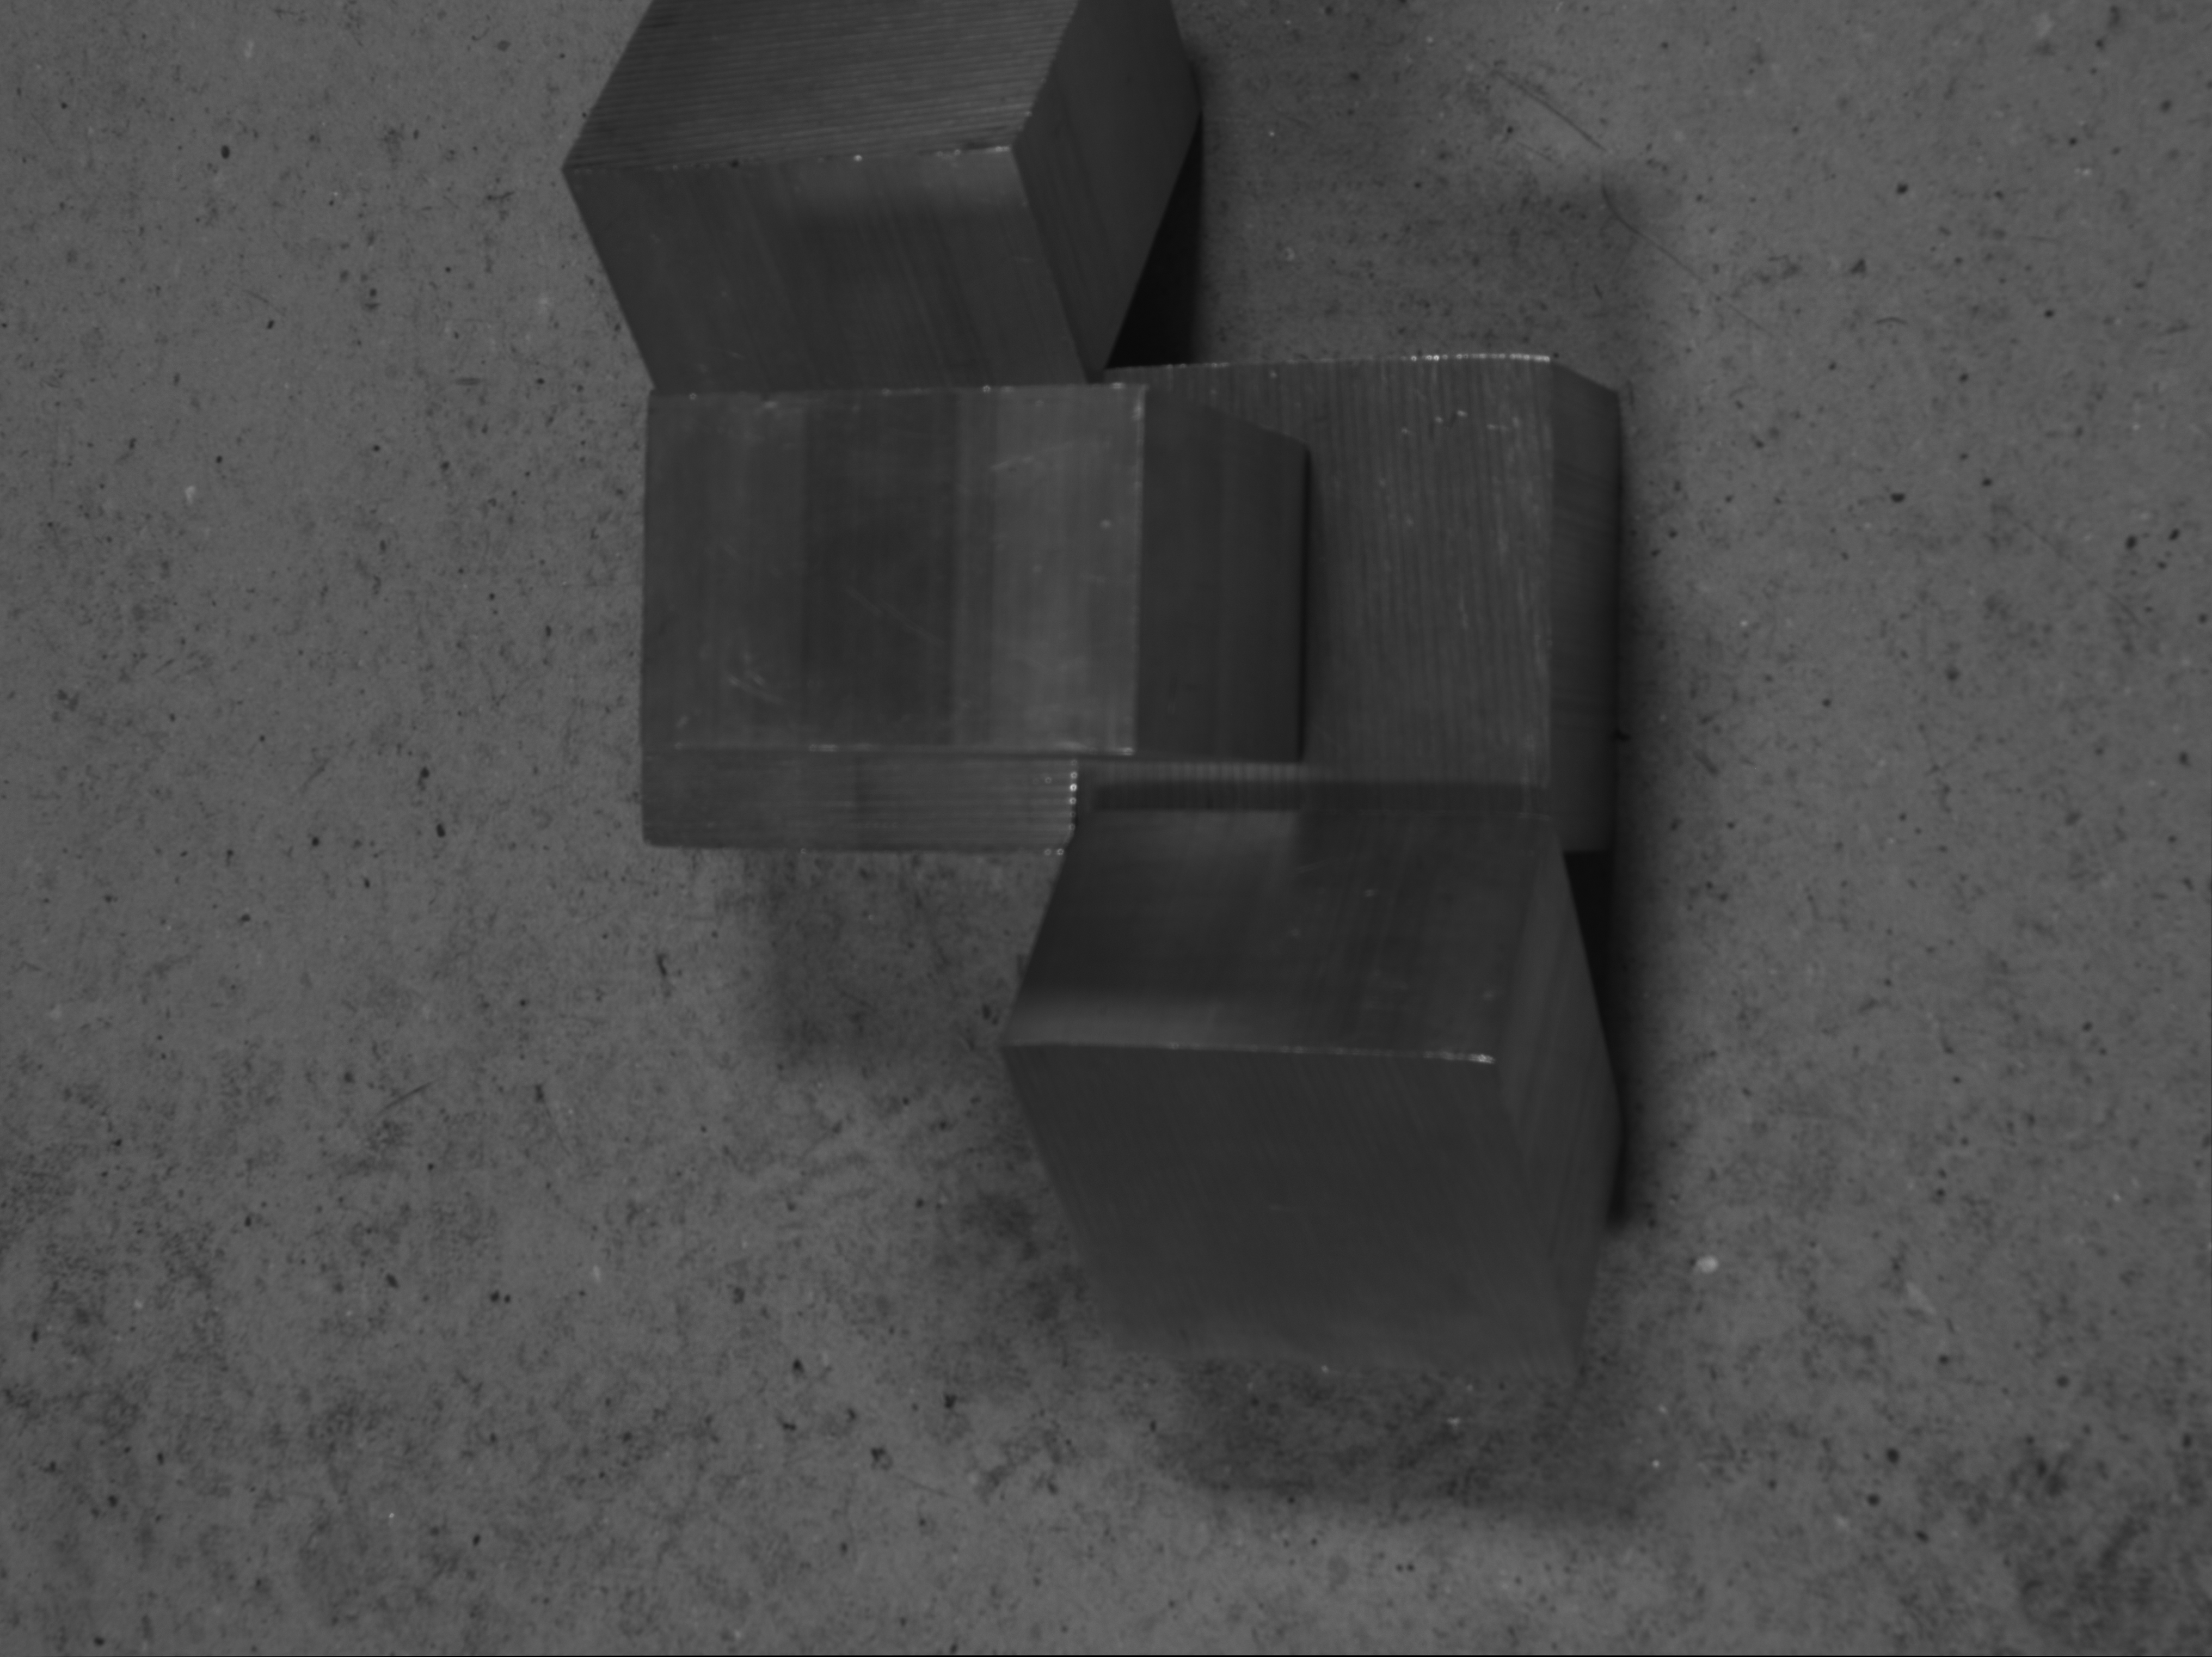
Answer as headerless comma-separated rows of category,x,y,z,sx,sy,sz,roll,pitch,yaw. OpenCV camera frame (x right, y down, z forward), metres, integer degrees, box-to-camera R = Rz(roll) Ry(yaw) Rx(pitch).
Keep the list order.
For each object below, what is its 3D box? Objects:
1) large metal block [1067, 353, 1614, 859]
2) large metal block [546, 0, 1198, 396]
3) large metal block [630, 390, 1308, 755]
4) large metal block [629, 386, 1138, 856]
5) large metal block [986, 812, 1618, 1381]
large metal block,0.040,-0.036,0.615,0.080,0.050,0.080,1,90,20
large metal block,-0.037,-0.118,0.623,0.080,0.050,0.080,1,46,20
large metal block,-0.019,-0.038,0.569,0.080,0.080,0.050,1,90,20
large metal block,-0.036,-0.036,0.642,0.080,0.050,0.080,1,90,20
large metal block,0.035,0.043,0.596,0.080,0.080,0.050,0,46,20
